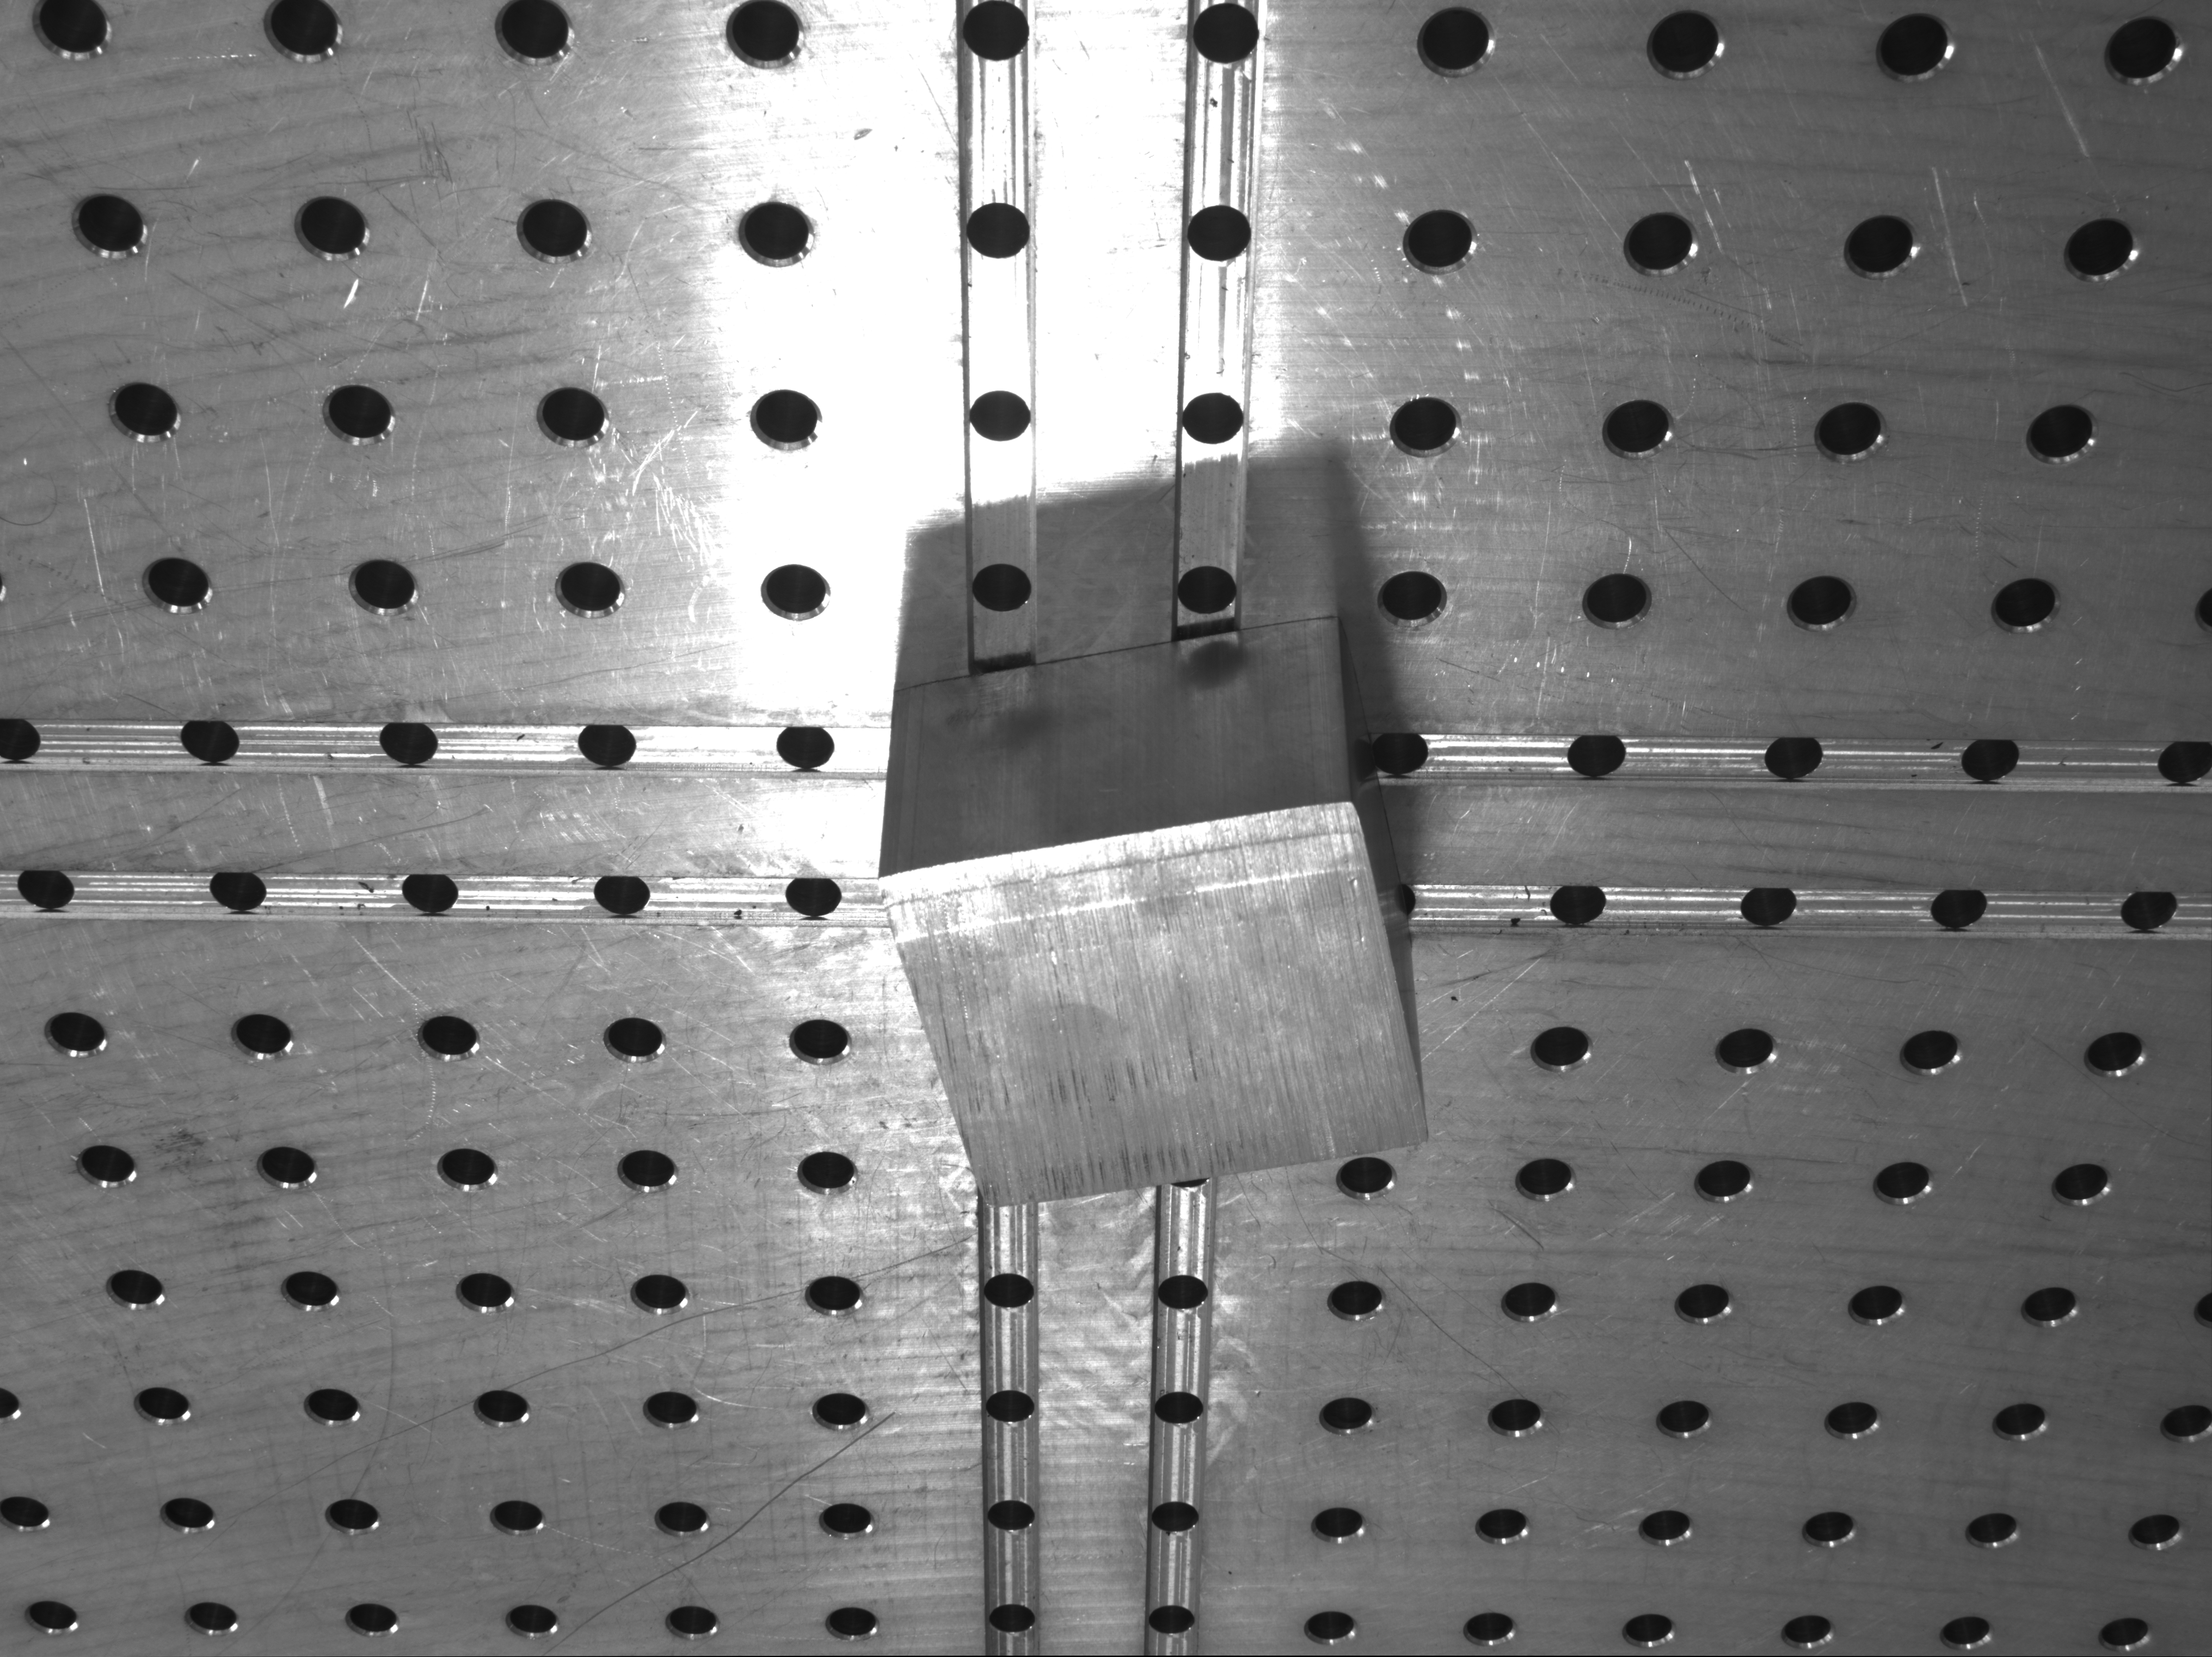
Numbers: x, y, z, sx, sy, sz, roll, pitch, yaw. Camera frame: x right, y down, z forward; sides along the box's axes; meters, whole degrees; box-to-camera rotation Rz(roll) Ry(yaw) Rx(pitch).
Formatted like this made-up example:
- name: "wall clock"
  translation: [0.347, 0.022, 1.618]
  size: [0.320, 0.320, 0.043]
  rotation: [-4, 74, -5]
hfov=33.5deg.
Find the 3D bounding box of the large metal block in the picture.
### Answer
- name: "large metal block"
  translation: [0.009, 0.016, 0.639]
  size: [0.080, 0.050, 0.080]
  rotation: [-9, 130, 8]
